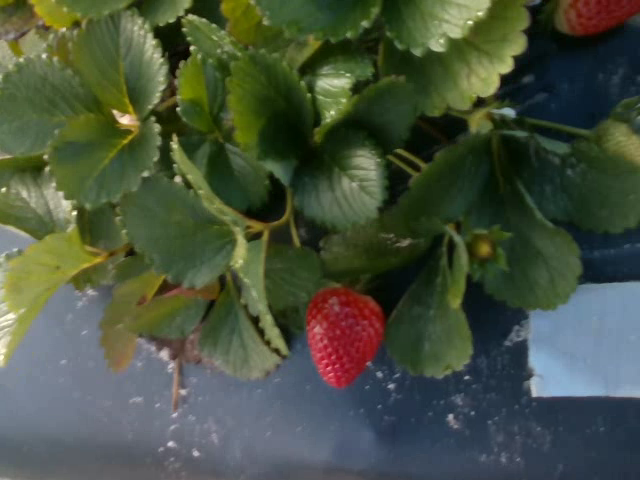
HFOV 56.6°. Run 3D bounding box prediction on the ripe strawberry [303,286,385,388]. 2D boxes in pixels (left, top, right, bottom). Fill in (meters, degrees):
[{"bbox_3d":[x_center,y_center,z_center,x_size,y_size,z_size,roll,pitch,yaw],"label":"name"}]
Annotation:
[{"bbox_3d":[0.005,0.022,0.126,0.018,0.023,0.020,-1,-9,34],"label":"ripe strawberry"}]
